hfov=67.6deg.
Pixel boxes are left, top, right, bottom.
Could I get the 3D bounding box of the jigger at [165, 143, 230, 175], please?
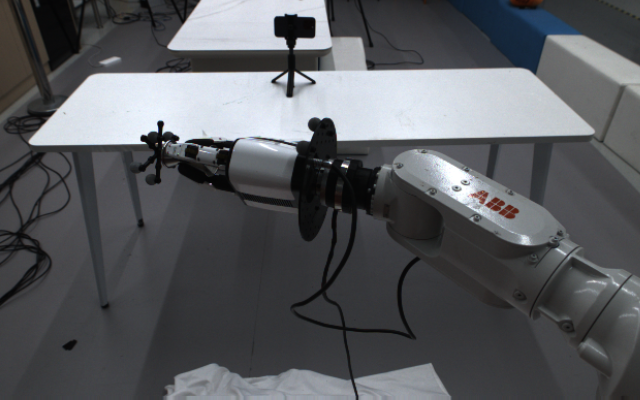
[{"bbox_3d":[-0.172,-0.062,0.664,0.071,0.043,0.043,10,35,16],"label":"jigger"}]
